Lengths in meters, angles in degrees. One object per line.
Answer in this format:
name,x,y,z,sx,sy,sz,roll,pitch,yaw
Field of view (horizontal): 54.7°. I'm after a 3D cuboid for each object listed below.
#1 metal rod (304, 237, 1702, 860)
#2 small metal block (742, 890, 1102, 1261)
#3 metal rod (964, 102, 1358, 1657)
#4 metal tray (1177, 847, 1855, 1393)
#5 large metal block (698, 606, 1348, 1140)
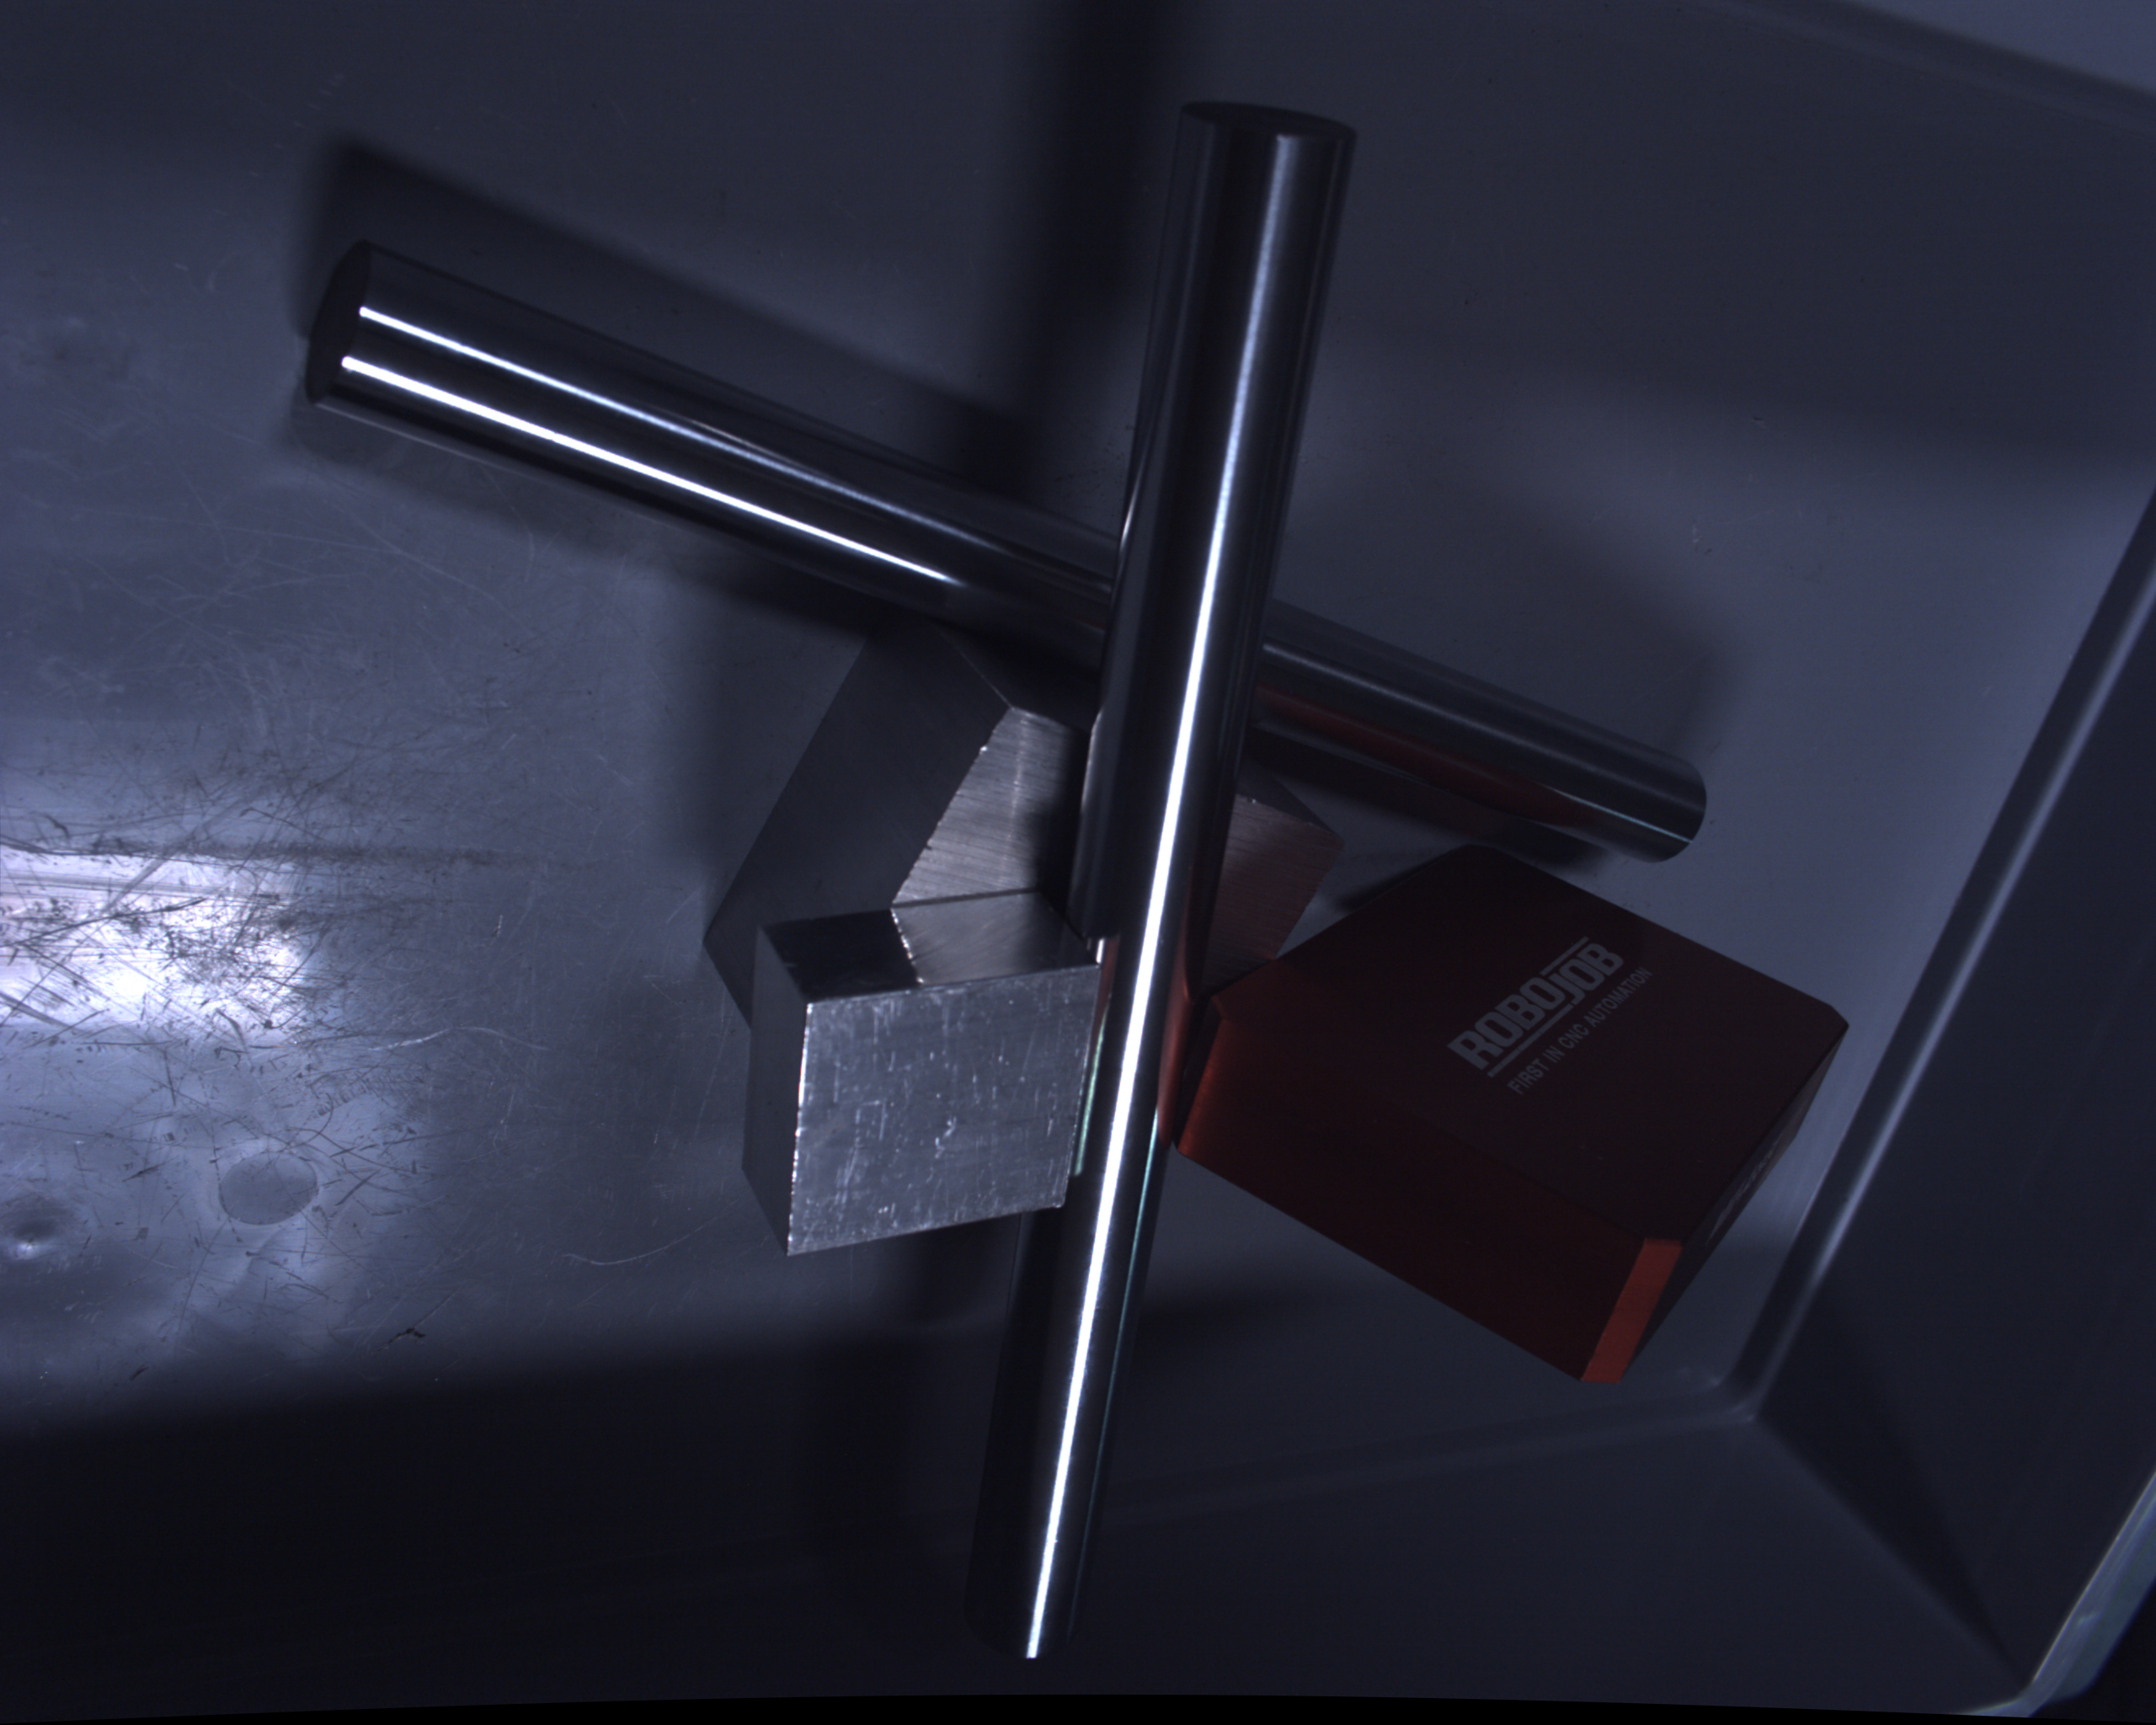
metal rod,0.012,-0.045,0.388,0.302,0.025,0.025,15,110,-35
small metal block,-0.027,0.035,0.350,0.050,0.025,0.050,-7,121,-26
metal rod,0.008,0.025,0.364,0.025,0.025,0.298,-6,121,-26
metal tray,0.089,0.043,0.408,0.131,0.090,0.030,-25,136,-55
large metal block,-0.011,0.006,0.390,0.080,0.050,0.080,19,108,-36
